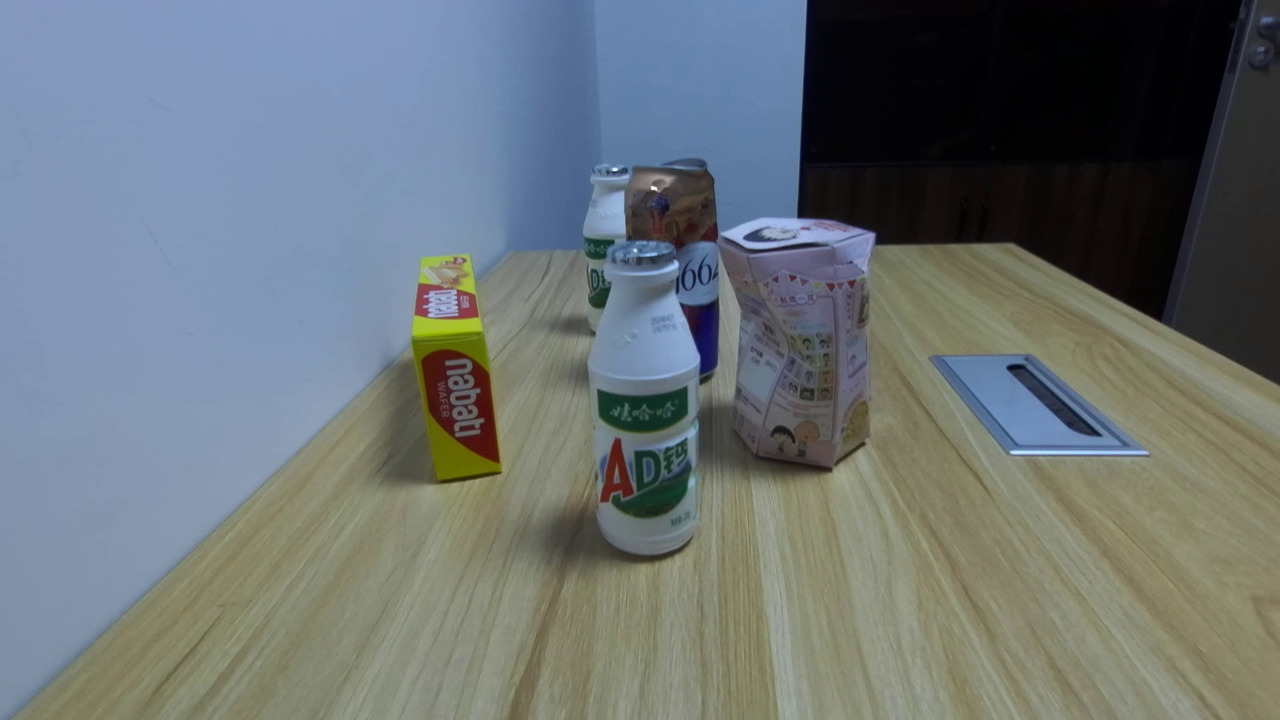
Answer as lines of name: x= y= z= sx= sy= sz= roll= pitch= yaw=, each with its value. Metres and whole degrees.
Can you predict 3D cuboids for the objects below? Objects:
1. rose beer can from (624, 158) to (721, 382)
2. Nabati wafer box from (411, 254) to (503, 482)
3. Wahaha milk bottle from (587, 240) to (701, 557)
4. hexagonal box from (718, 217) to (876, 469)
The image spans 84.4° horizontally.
rose beer can: x=0.025 y=-0.062 z=0.519 sx=0.068 sy=0.162 sz=0.073 roll=-1 pitch=18 yaw=6
Nabati wafer box: x=-0.128 y=-0.007 z=0.493 sx=0.042 sy=0.093 sz=0.202 roll=-7 pitch=22 yaw=-13
Wahaha milk bottle: x=0.003 y=0.020 z=0.337 sx=0.053 sy=0.147 sz=0.053 roll=-2 pitch=21 yaw=1
hexagonal box: x=0.093 y=-0.012 z=0.426 sx=0.090 sy=0.134 sz=0.091 roll=6 pitch=24 yaw=26
